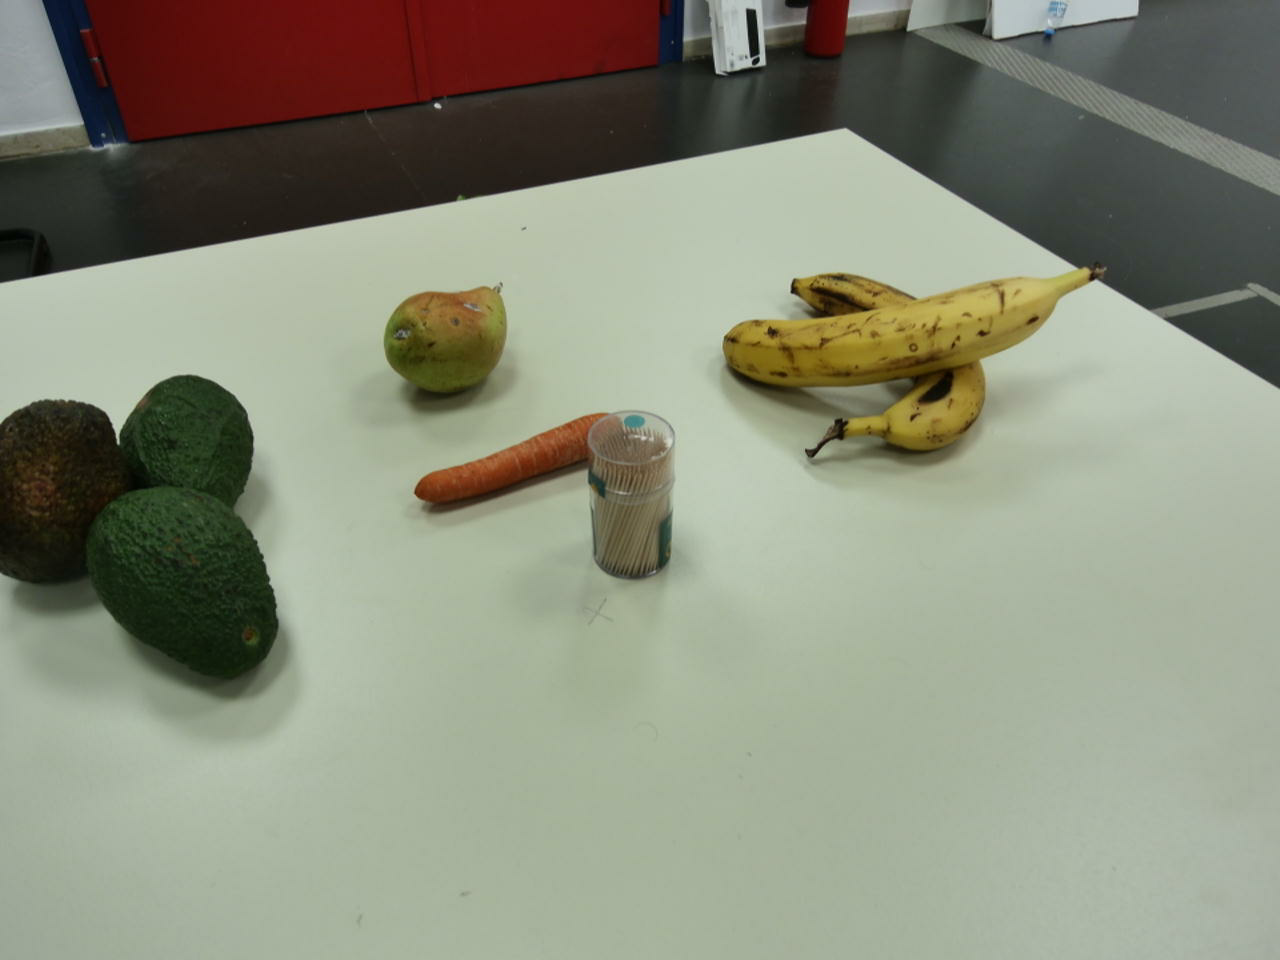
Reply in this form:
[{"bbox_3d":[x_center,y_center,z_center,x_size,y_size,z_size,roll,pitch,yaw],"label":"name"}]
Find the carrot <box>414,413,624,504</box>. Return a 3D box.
[{"bbox_3d":[-0.063,-0.012,0.543,0.122,0.023,0.024,-18,42,-22],"label":"carrot"}]
